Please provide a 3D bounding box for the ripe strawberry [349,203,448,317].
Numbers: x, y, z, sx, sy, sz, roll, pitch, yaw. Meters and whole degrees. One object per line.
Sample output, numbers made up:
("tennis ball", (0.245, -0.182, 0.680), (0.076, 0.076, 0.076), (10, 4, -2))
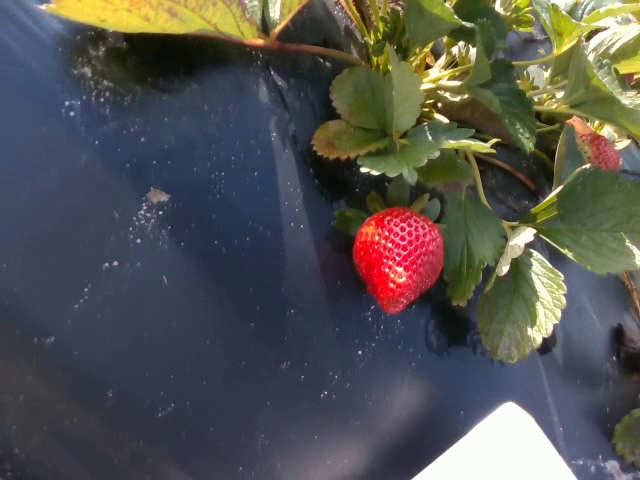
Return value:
("ripe strawberry", (0.028, 0.010, 0.199), (0.041, 0.041, 0.047), (21, 36, -2))
